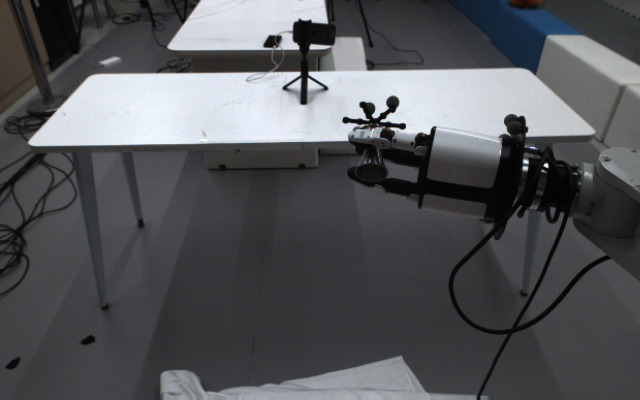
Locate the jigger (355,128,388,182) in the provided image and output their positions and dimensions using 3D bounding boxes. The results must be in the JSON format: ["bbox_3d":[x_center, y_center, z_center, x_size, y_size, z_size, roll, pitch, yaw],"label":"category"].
[{"bbox_3d":[0.070,-0.064,0.658,0.043,0.043,0.071,4,61,3],"label":"jigger"}]
